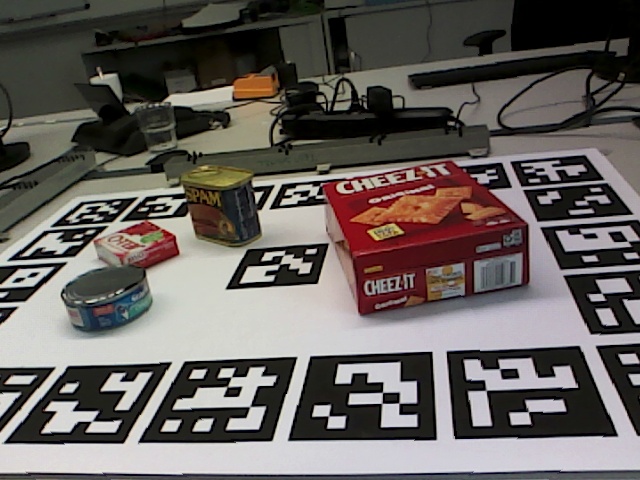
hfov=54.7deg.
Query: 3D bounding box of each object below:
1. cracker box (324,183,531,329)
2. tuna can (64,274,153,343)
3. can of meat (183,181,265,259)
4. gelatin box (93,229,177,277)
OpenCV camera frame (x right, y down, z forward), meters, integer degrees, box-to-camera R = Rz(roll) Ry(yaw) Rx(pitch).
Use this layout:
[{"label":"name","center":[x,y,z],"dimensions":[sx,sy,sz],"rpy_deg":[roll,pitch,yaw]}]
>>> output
[{"label":"cracker box","center":[0.102,0.006,0.669],"dimensions":[0.164,0.072,0.214],"rpy_deg":[-9,22,-6]},{"label":"tuna can","center":[-0.223,0.072,0.656],"dimensions":[0.086,0.033,0.086],"rpy_deg":[-8,27,4]},{"label":"can of meat","center":[-0.123,-0.026,0.806],"dimensions":[0.102,0.083,0.057],"rpy_deg":[10,29,38]},{"label":"gelatin box","center":[-0.237,0.018,0.792],"dimensions":[0.073,0.030,0.090],"rpy_deg":[-22,30,-35]}]
